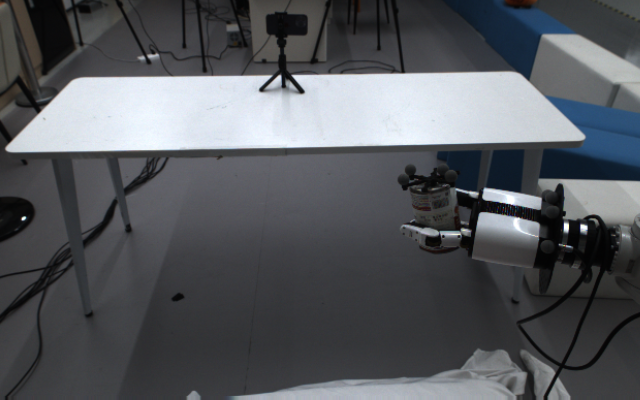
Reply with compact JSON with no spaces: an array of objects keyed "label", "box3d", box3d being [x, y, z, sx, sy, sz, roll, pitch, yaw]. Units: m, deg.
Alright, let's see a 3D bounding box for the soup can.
[{"label":"soup can","box3d":[0.177,0.020,0.726,0.067,0.101,0.067,-13,20,5]}]
